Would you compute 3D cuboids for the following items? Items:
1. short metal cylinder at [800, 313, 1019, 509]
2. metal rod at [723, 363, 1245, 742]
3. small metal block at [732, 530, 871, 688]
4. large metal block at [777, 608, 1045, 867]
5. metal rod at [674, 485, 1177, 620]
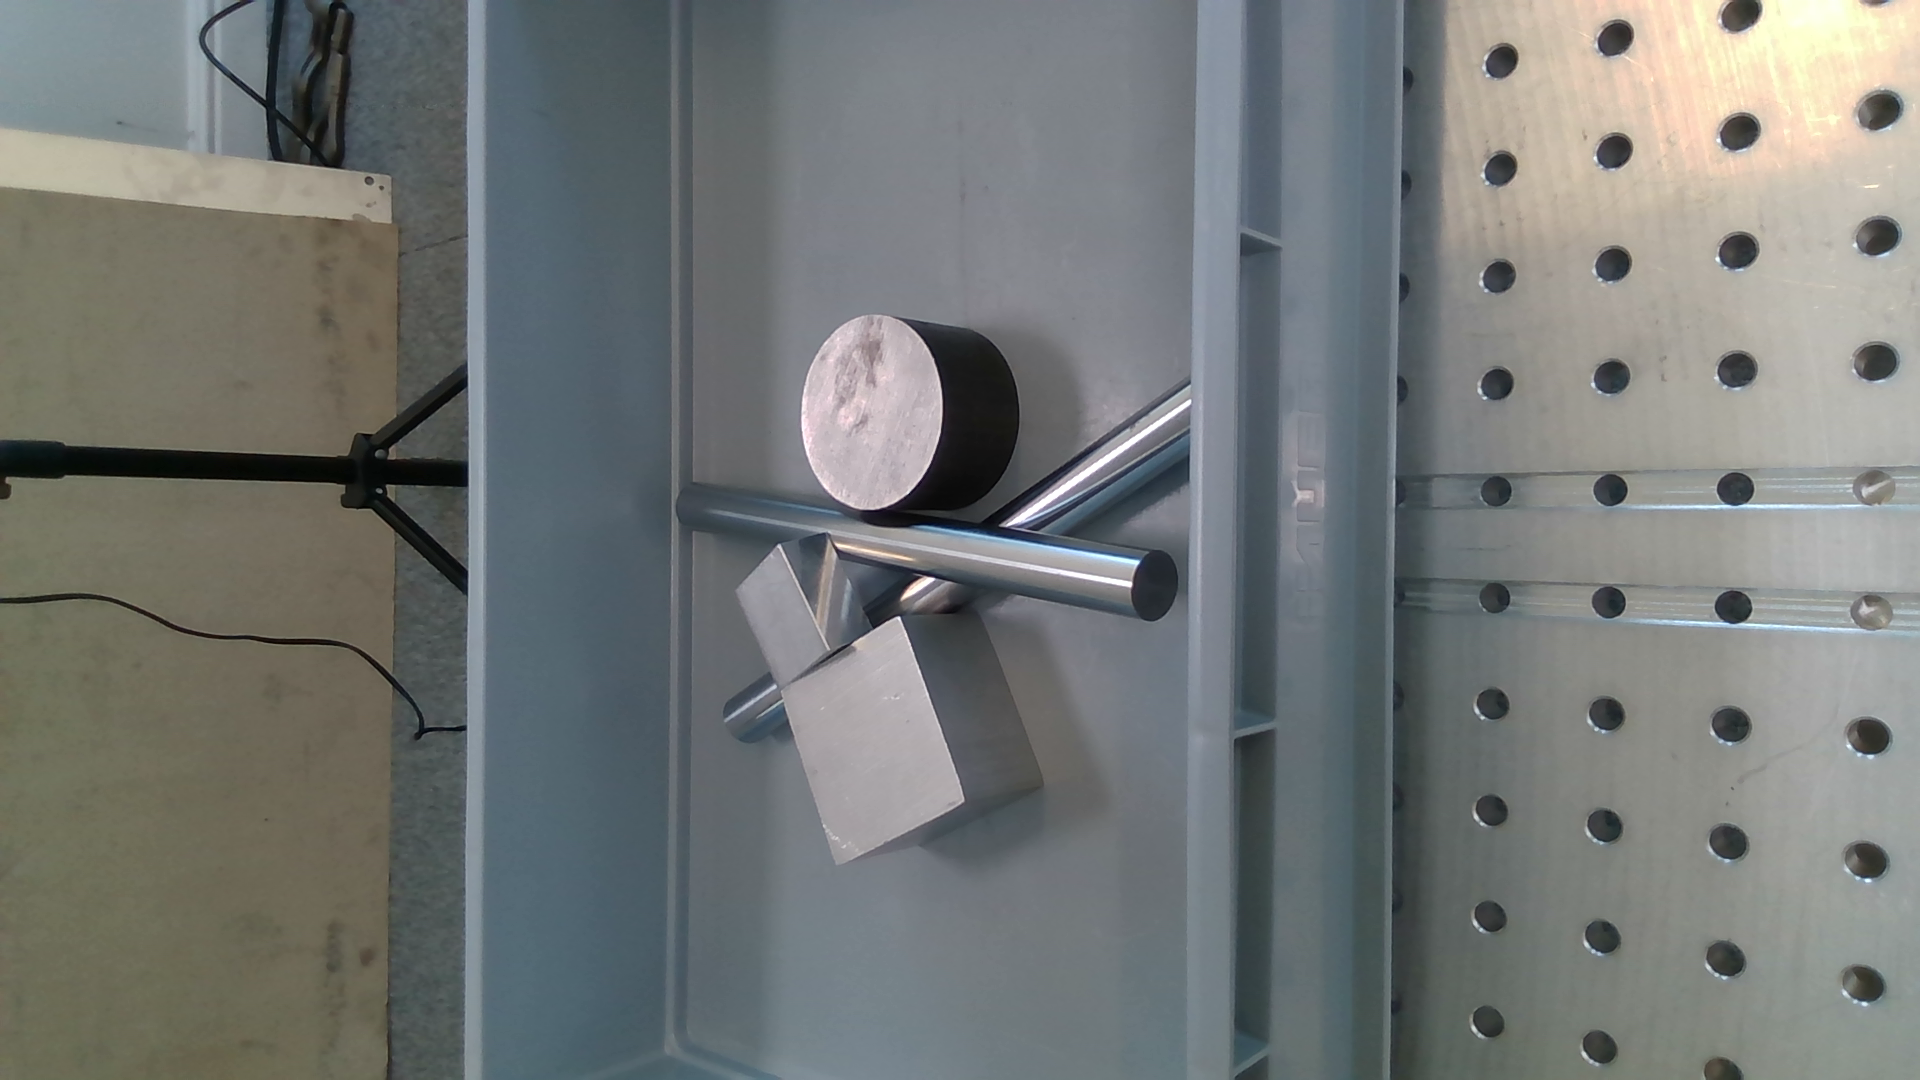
[{"bbox_3d":[-0.022,-0.053,0.583,0.080,0.050,0.080,1,92,40],"label":"short metal cylinder"},{"bbox_3d":[-0.005,0.017,0.585,0.301,0.025,0.025,-35,68,35],"label":"metal rod"},{"bbox_3d":[-0.069,0.031,0.597,0.050,0.025,0.050,-41,73,49],"label":"small metal block"},{"bbox_3d":[-0.022,0.083,0.584,0.080,0.050,0.080,-34,69,35],"label":"large metal block"},{"bbox_3d":[-0.033,-0.001,0.583,0.300,0.025,0.025,9,96,48],"label":"metal rod"}]
